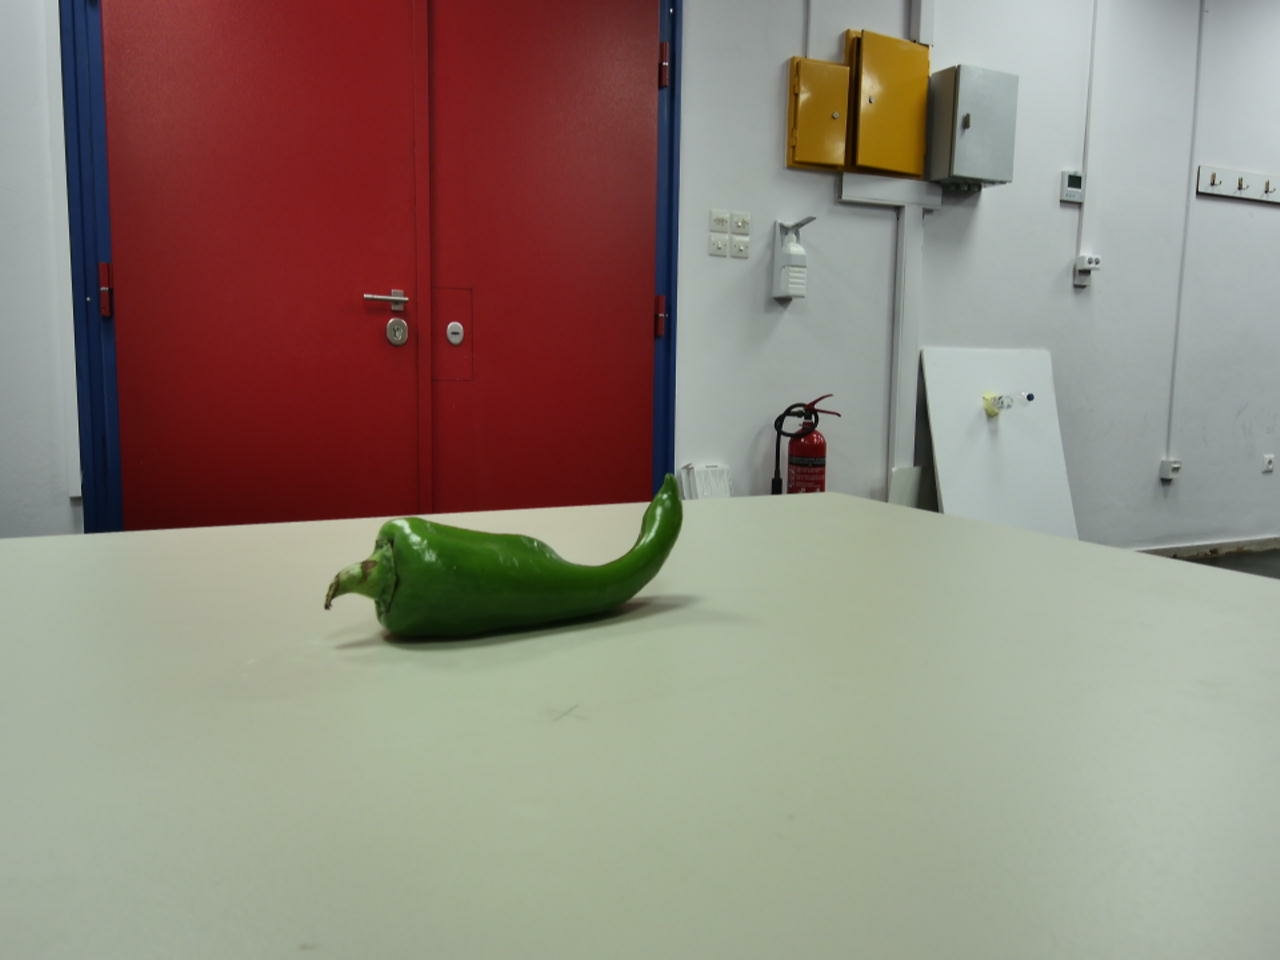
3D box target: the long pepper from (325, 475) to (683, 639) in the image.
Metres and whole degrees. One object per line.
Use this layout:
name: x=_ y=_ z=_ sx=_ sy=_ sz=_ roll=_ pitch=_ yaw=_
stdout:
long pepper: x=-0.052 y=0.033 z=0.449 sx=0.175 sy=0.065 sz=0.058 roll=-3 pitch=5 yaw=-28
